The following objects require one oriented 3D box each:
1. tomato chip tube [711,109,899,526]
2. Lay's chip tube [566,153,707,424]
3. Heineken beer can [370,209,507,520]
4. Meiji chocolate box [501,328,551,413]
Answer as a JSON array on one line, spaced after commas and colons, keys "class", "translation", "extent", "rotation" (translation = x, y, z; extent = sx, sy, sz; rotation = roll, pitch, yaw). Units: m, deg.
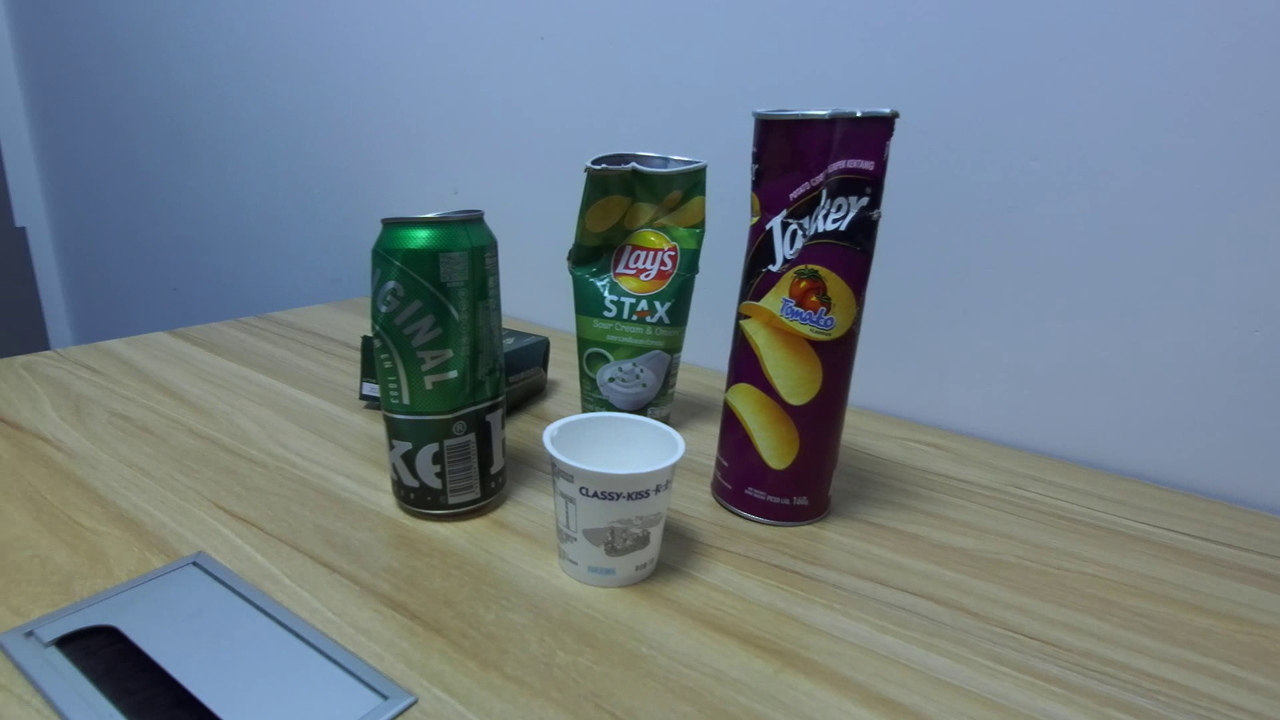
[{"class": "tomato chip tube", "translation": [0.089, -0.024, 0.414], "extent": [0.078, 0.236, 0.090], "rotation": [7, -160, 13]}, {"class": "Lay's chip tube", "translation": [-0.005, -0.045, 0.515], "extent": [0.077, 0.201, 0.069], "rotation": [-8, -159, -27]}, {"class": "Heineken beer can", "translation": [-0.114, 0.004, 0.405], "extent": [0.068, 0.168, 0.069], "rotation": [-5, -165, -20]}, {"class": "Meiji chocolate box", "translation": [-0.150, 0.006, 0.582], "extent": [0.122, 0.058, 0.116], "rotation": [14, -159, 28]}]
